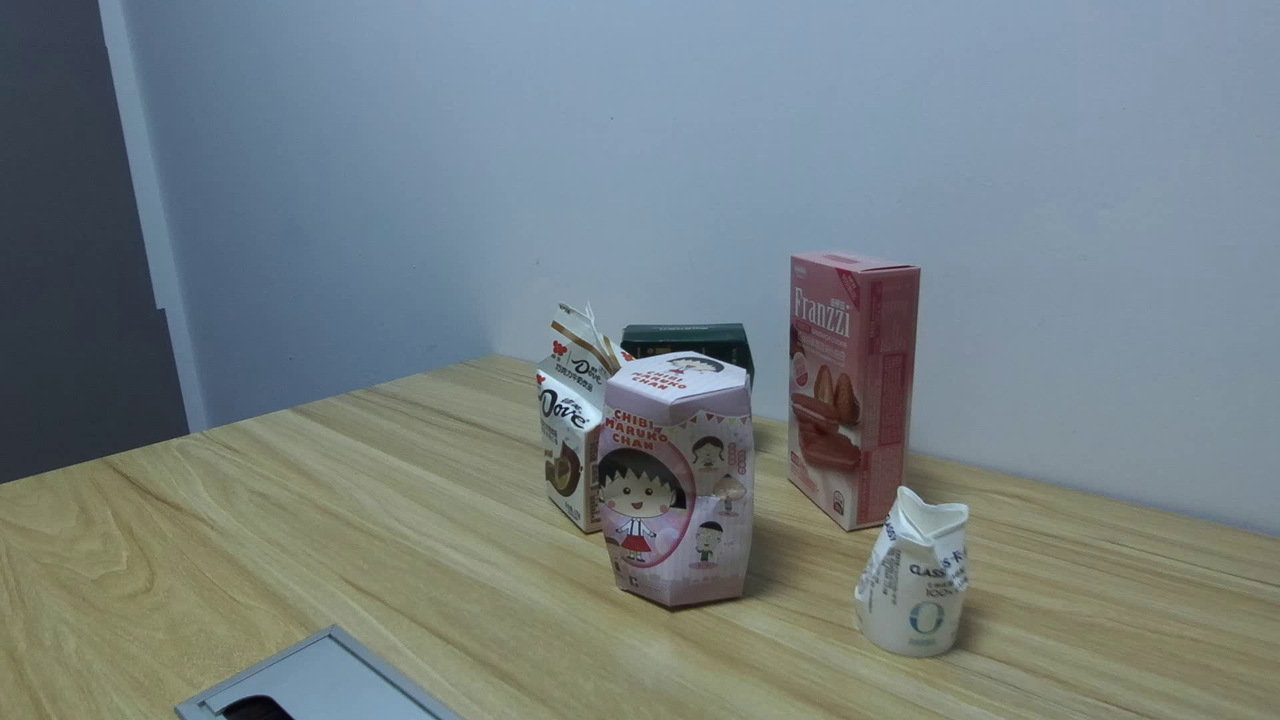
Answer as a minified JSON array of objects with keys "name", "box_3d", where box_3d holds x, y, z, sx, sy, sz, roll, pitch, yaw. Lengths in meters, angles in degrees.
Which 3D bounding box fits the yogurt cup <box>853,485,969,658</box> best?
[{"name":"yogurt cup","box_3d":[0.148,0.114,0.380,0.055,0.072,0.055,-15,24,-40]}]

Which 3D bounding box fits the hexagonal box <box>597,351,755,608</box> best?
[{"name":"hexagonal box","box_3d":[0.022,0.070,0.429,0.089,0.134,0.093,0,17,5]}]

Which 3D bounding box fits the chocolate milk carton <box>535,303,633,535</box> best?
[{"name":"chocolate milk carton","box_3d":[-0.028,0.035,0.521,0.074,0.155,0.076,-14,24,-27]}]

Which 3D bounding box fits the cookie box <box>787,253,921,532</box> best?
[{"name":"cookie box","box_3d":[0.150,0.019,0.513,0.048,0.184,0.096,-6,16,-15]}]

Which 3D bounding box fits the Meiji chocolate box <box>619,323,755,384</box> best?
[{"name":"Meiji chocolate box","box_3d":[0.039,0.025,0.628,0.122,0.116,0.058,2,21,5]}]
